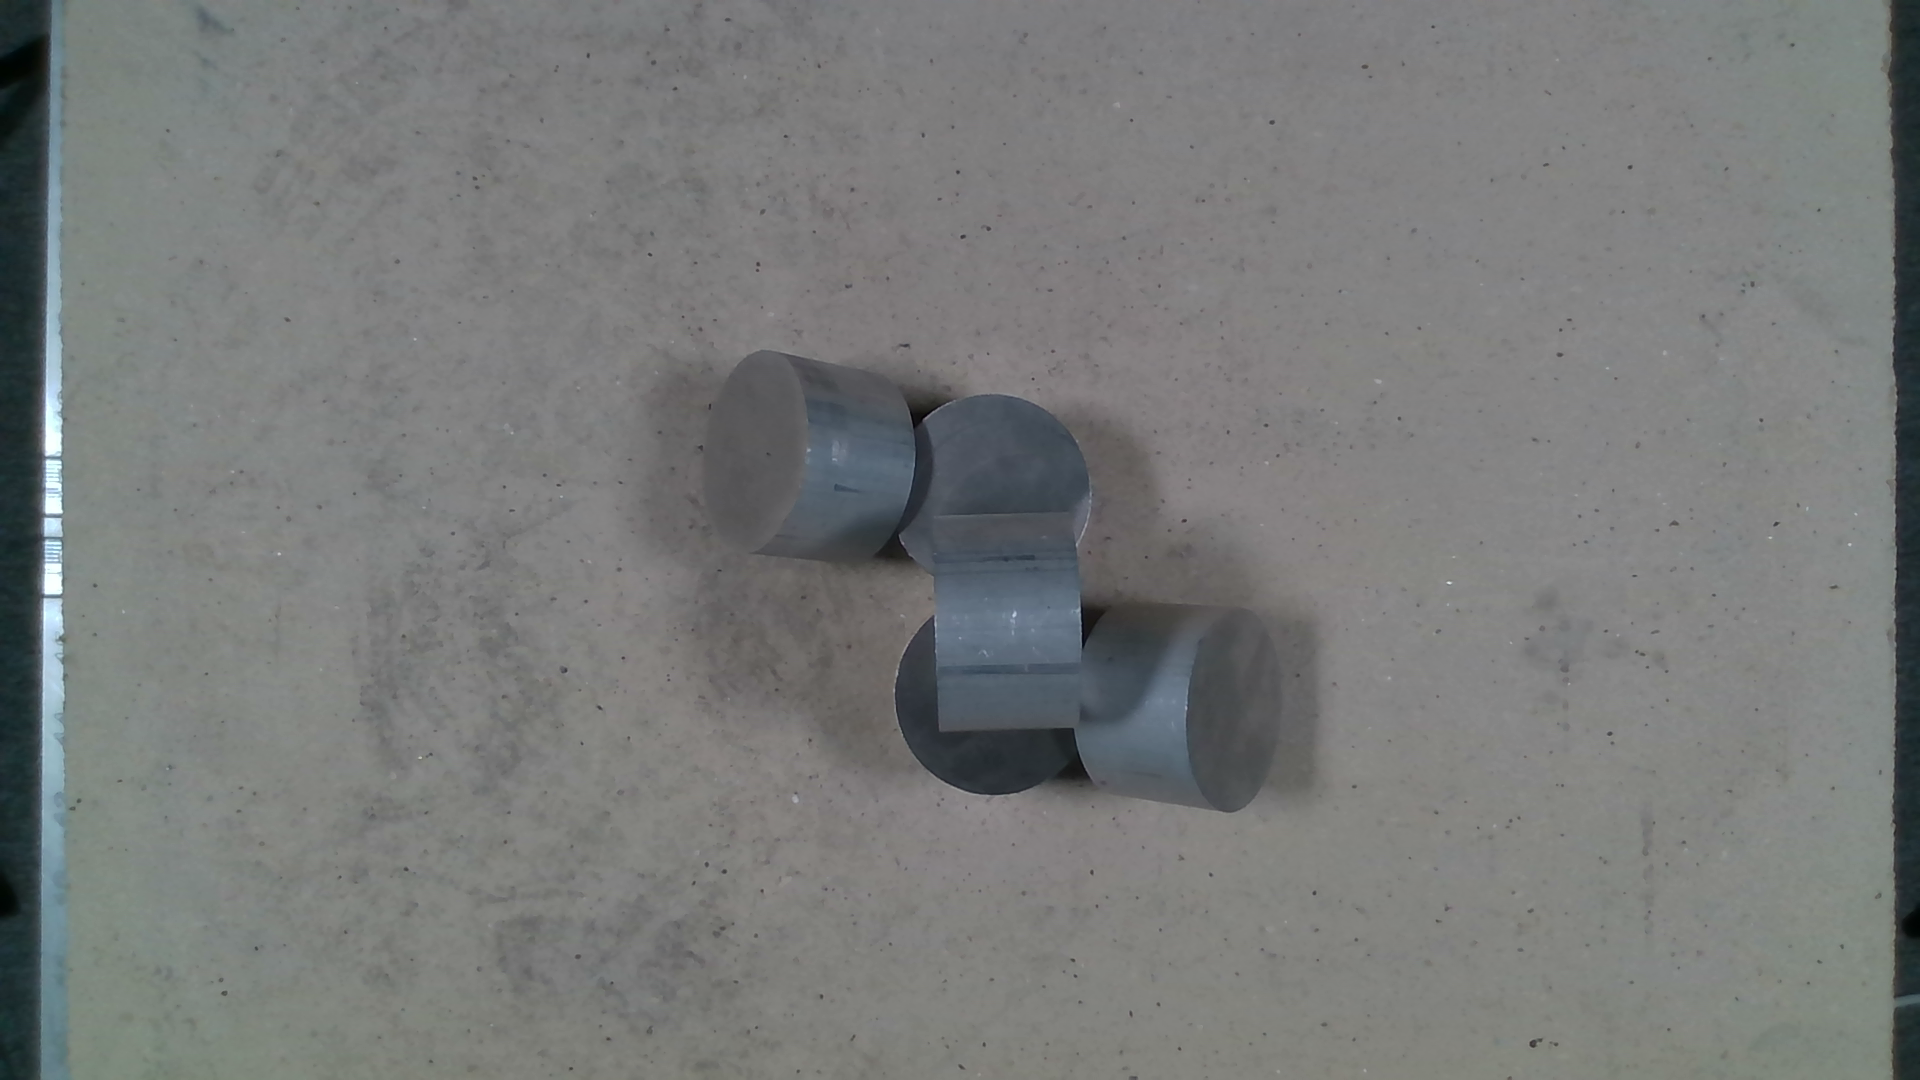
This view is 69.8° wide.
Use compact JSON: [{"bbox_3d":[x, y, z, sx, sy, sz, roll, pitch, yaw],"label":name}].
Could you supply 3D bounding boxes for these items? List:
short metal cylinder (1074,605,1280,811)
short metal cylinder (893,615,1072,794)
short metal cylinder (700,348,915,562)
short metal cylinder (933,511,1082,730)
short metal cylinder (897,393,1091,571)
[{"bbox_3d":[0.088,0.065,0.553,0.050,0.080,0.080,1,90,38],"label":"short metal cylinder"},{"bbox_3d":[0.013,0.062,0.575,0.080,0.050,0.080,0,90,0],"label":"short metal cylinder"},{"bbox_3d":[-0.062,-0.033,0.553,0.050,0.080,0.080,7,90,-39],"label":"short metal cylinder"},{"bbox_3d":[0.016,0.030,0.510,0.050,0.080,0.080,-2,90,0],"label":"short metal cylinder"},{"bbox_3d":[0.012,-0.019,0.574,0.080,0.050,0.080,0,90,0],"label":"short metal cylinder"}]
